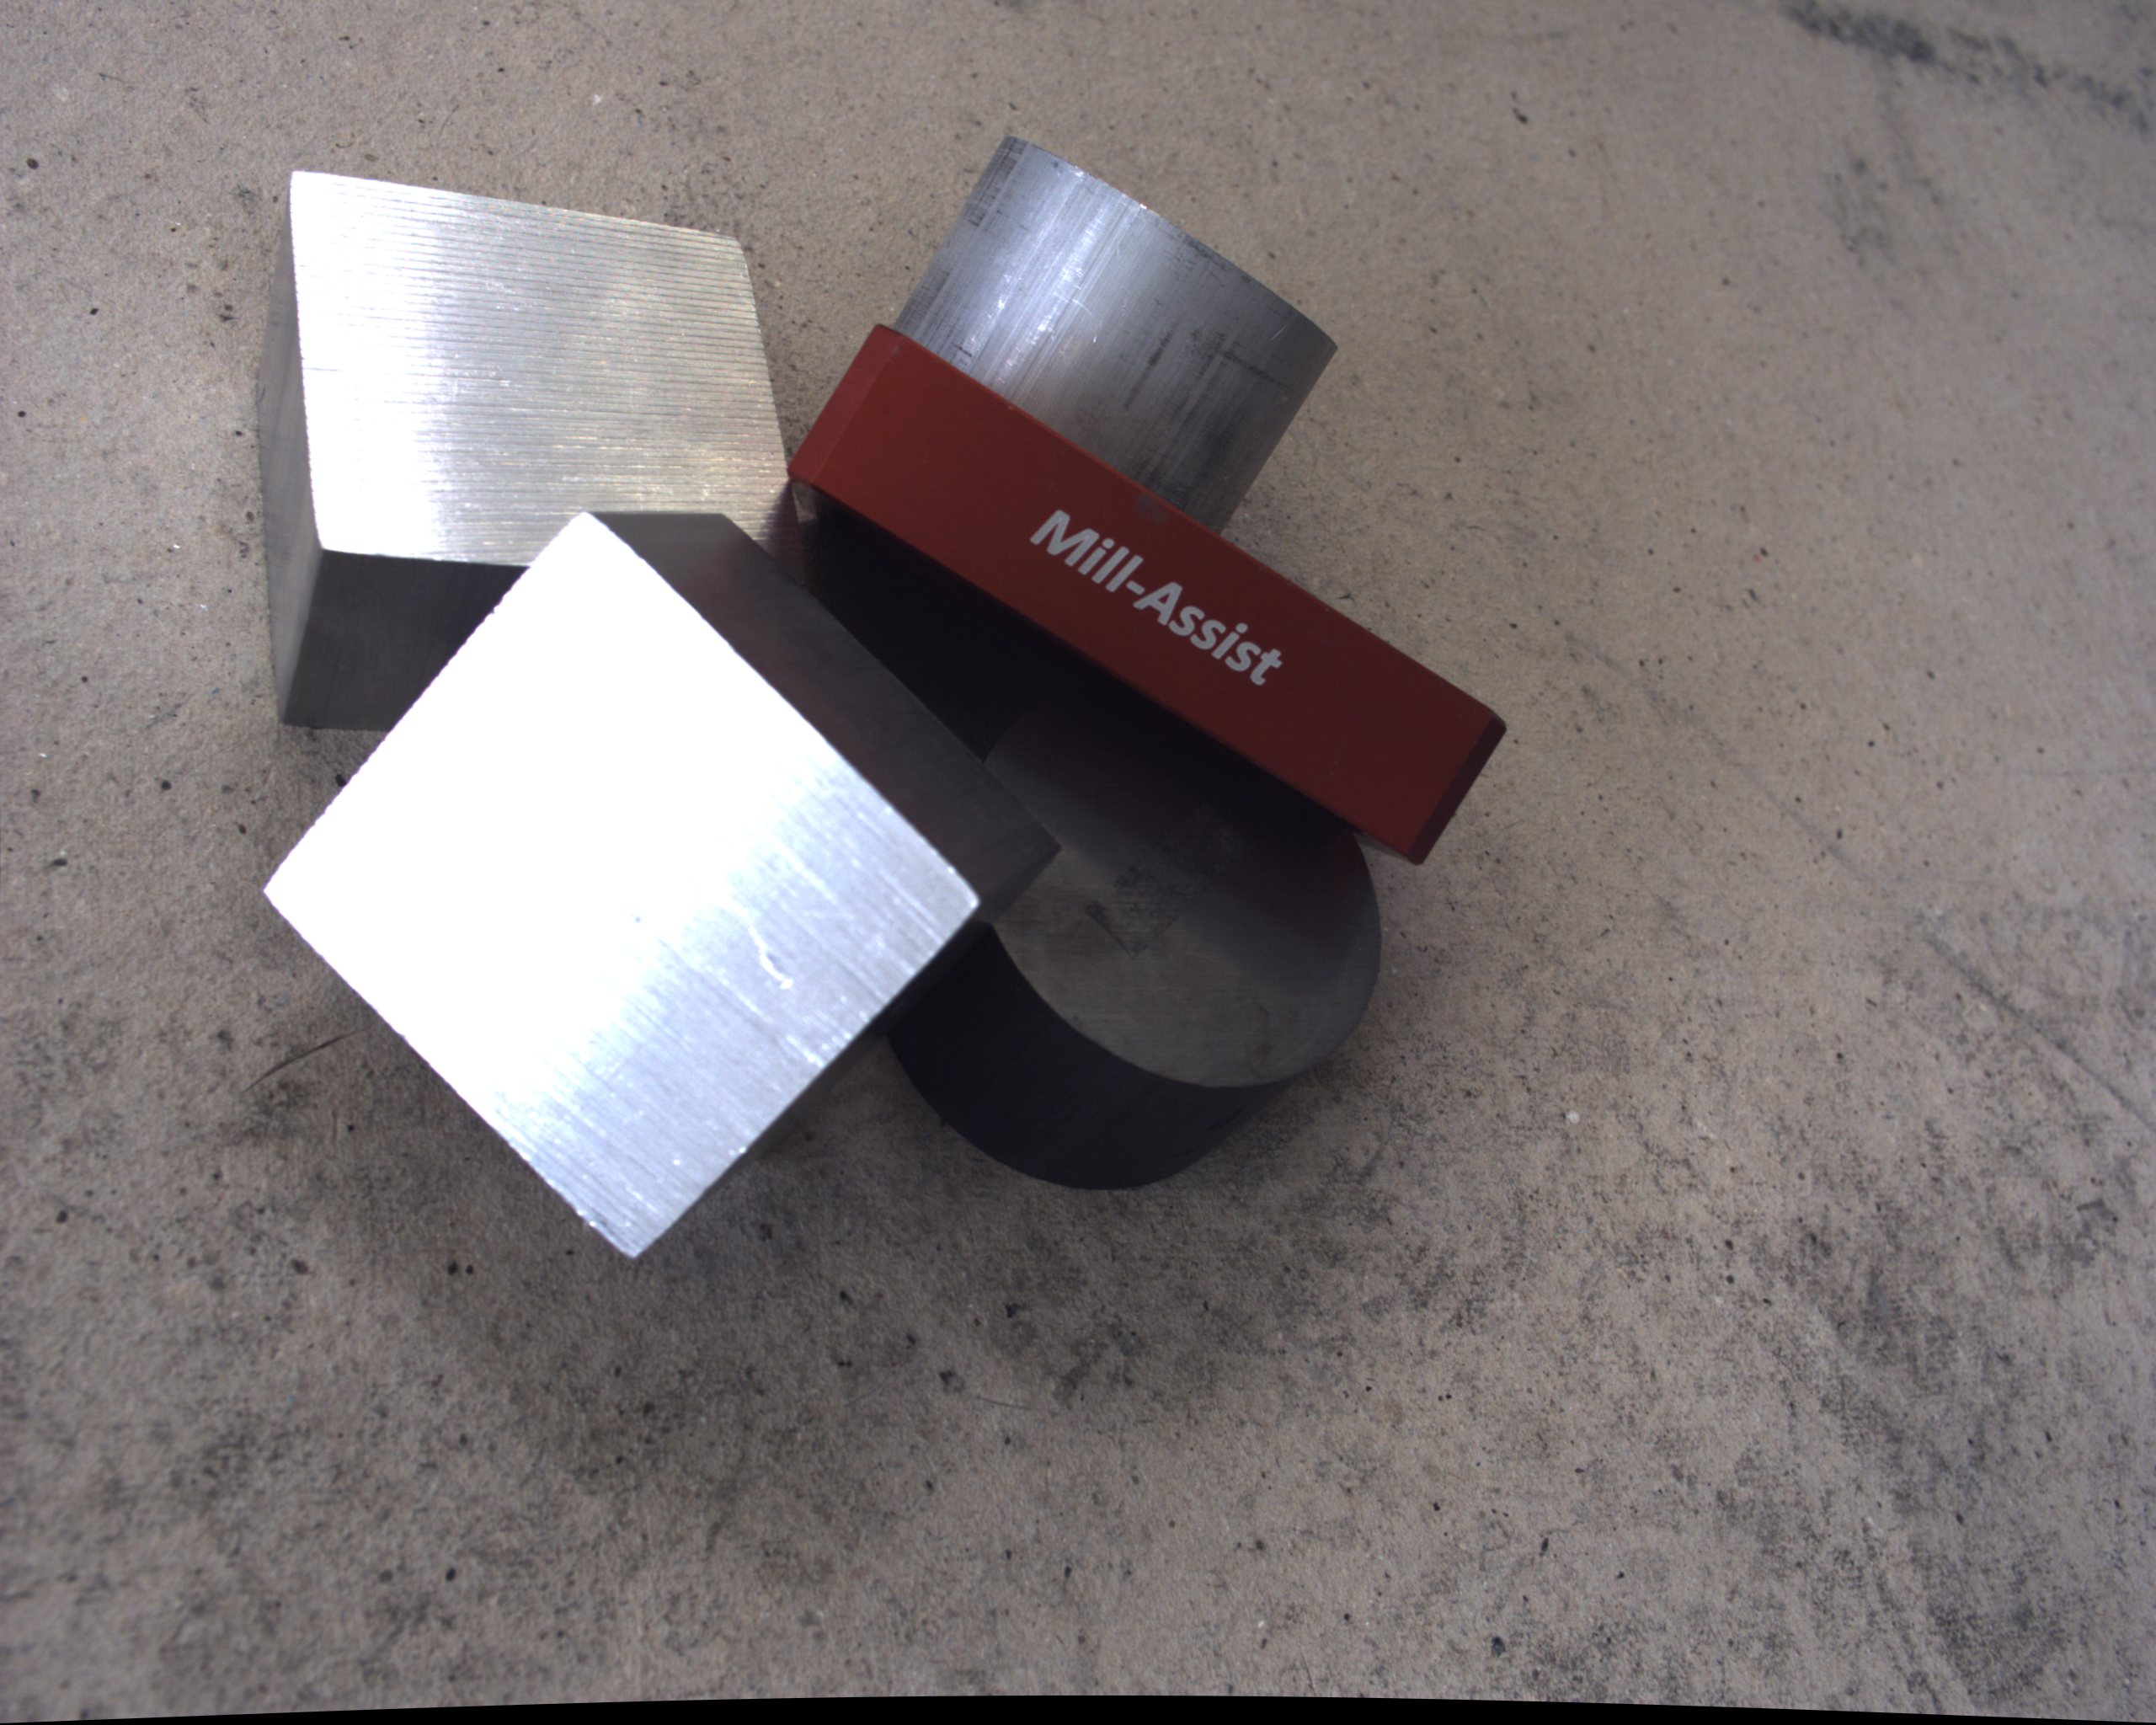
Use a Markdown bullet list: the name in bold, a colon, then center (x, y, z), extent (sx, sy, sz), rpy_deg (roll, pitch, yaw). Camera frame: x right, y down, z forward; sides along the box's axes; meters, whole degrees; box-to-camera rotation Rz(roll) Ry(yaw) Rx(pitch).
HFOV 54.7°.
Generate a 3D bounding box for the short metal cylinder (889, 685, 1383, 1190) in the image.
- **short metal cylinder**: center (0.009, 0.014, 0.386), extent (0.081, 0.050, 0.080), rpy_deg (14, 56, -21)

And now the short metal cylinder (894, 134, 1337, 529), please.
- **short metal cylinder**: center (0.006, -0.106, 0.432), extent (0.080, 0.050, 0.080), rpy_deg (31, 11, -6)

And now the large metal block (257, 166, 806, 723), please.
- **large metal block**: center (-0.101, -0.071, 0.376), extent (0.081, 0.050, 0.080), rpy_deg (1, 61, -28)

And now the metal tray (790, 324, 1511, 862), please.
- **metal tray**: center (0.010, -0.049, 0.400), extent (0.130, 0.090, 0.030), rpy_deg (31, 92, -8)

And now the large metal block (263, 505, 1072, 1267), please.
- **large metal block**: center (-0.062, 0.001, 0.327), extent (0.080, 0.080, 0.050), rpy_deg (45, 15, 2)
